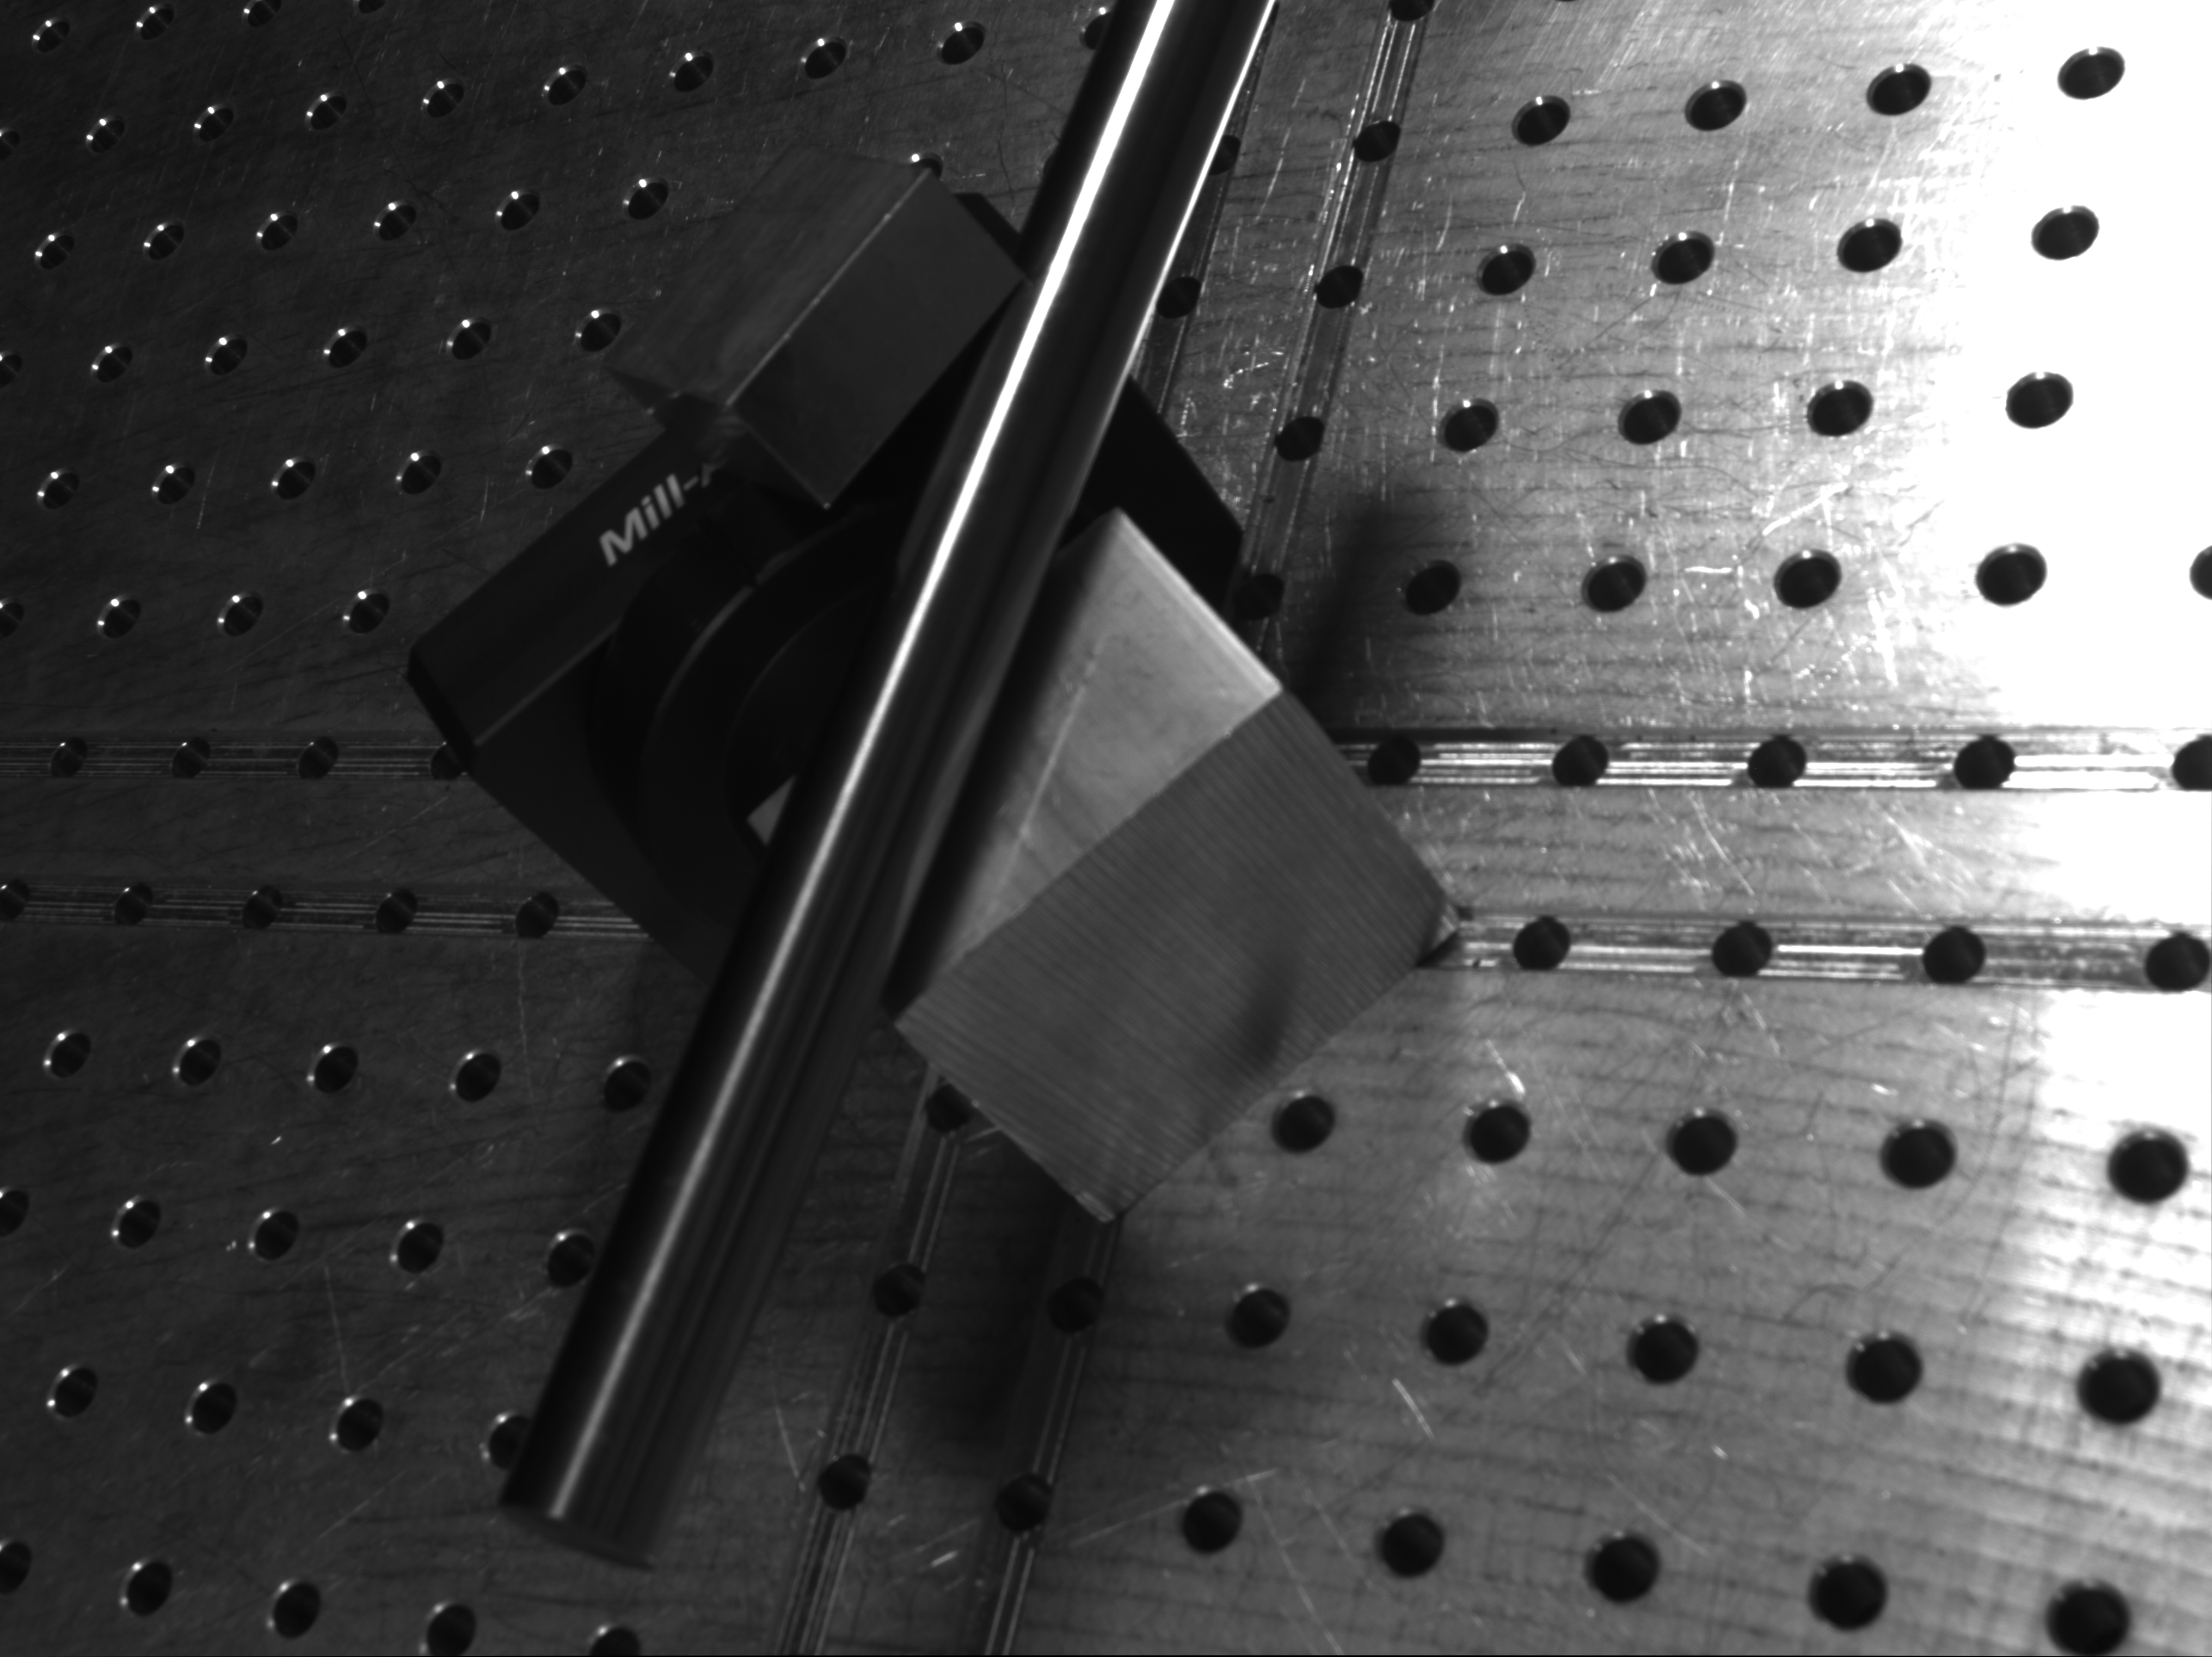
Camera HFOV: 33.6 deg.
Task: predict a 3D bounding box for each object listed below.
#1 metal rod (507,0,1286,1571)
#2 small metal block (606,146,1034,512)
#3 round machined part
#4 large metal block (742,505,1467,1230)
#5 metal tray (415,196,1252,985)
[{"bbox_3d":[-0.024,-0.030,0.575,0.025,0.025,0.300,7,65,31],"label":"metal rod"},{"bbox_3d":[-0.047,-0.082,0.597,0.050,0.025,0.050,-51,32,-10],"label":"small metal block"},{"bbox_3d":[-0.032,-0.017,0.633,0.098,0.098,0.042,-41,51,0],"label":"round machined part"},{"bbox_3d":[0.001,0.008,0.602,0.080,0.080,0.050,-40,51,1],"label":"large metal block"},{"bbox_3d":[-0.046,-0.040,0.655,0.130,0.090,0.030,-40,51,1],"label":"metal tray"}]
